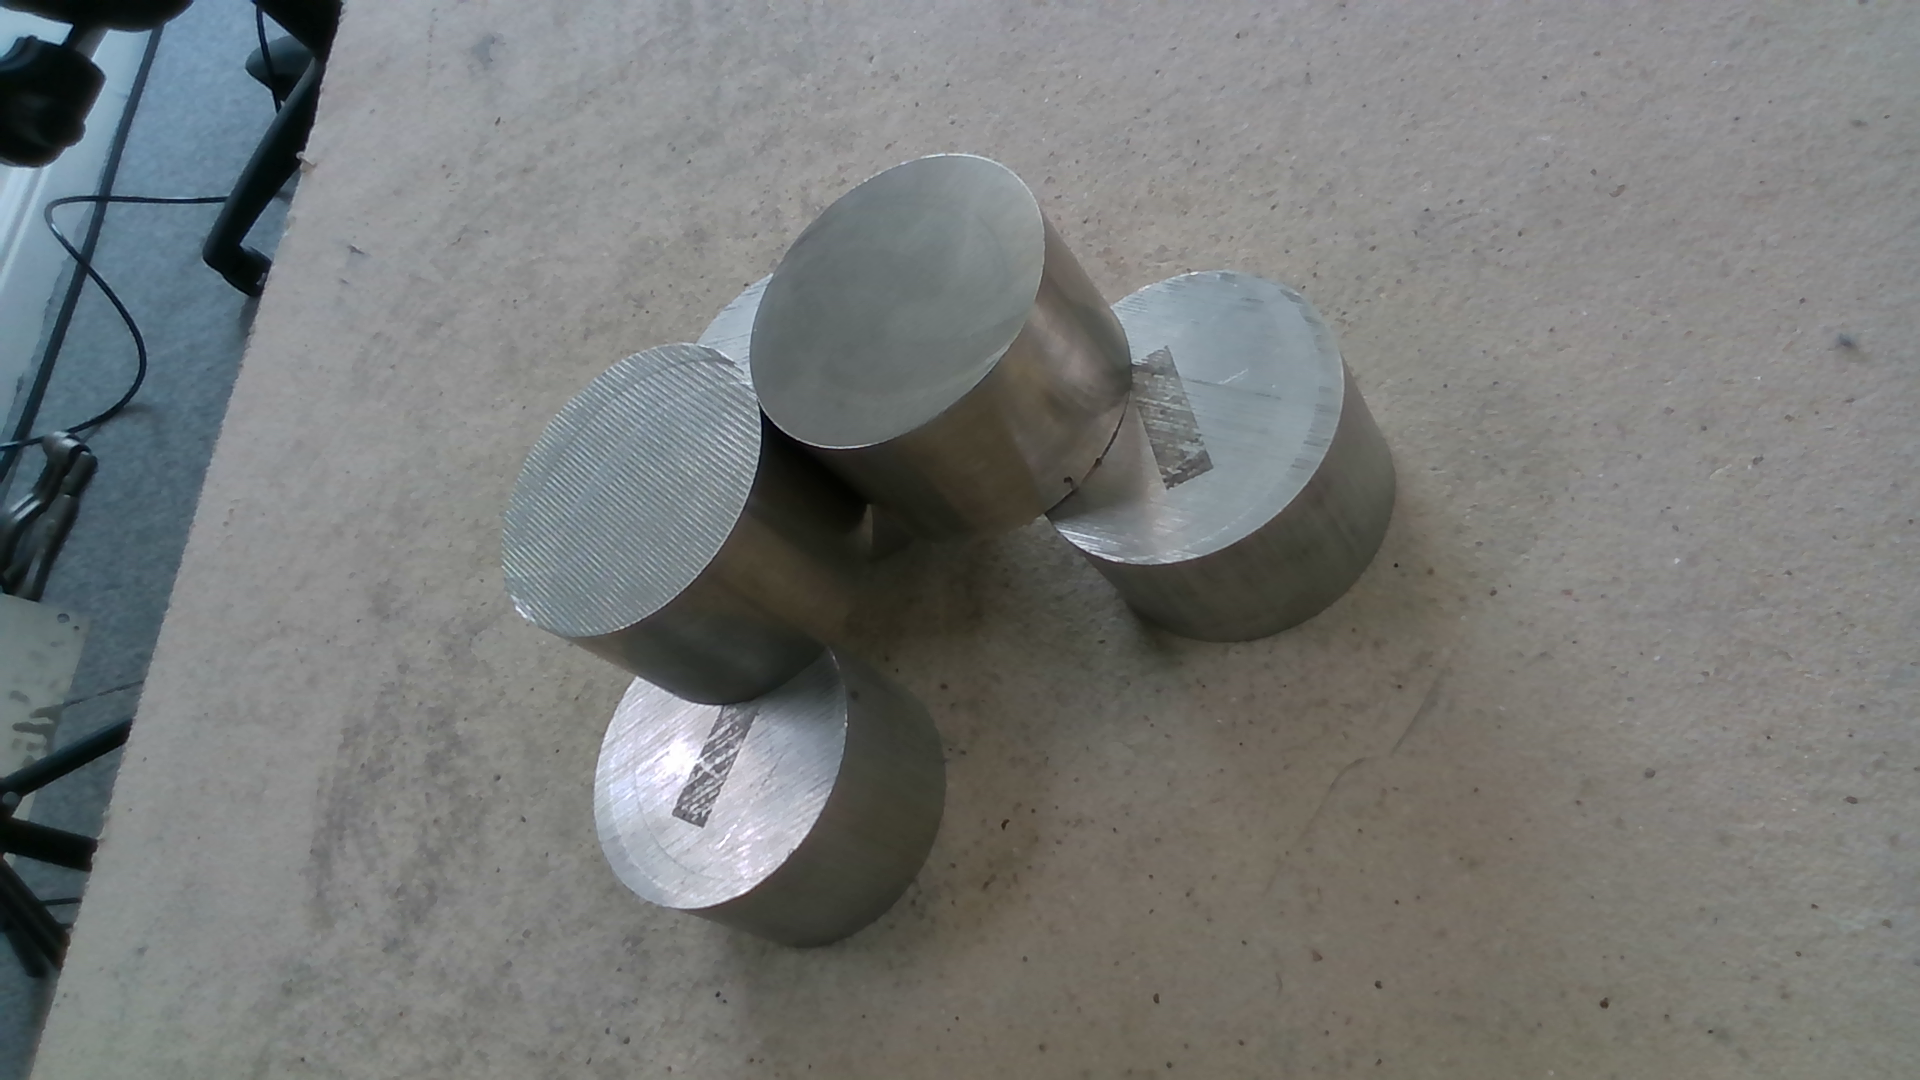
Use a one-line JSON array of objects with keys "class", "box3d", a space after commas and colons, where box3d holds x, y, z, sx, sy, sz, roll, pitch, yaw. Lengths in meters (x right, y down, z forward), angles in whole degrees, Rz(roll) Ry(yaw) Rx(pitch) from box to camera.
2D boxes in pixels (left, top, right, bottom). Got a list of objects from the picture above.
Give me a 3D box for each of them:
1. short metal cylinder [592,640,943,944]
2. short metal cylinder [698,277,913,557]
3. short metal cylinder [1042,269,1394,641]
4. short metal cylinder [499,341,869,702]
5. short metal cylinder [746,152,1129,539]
[{"class": "short metal cylinder", "box3d": [-0.052, 0.064, 0.374, 0.080, 0.050, 0.080, -14, 59, 25]}, {"class": "short metal cylinder", "box3d": [-0.042, -0.039, 0.423, 0.080, 0.050, 0.080, -14, 59, 25]}, {"class": "short metal cylinder", "box3d": [0.064, -0.021, 0.349, 0.080, 0.050, 0.080, -14, 59, 25]}, {"class": "short metal cylinder", "box3d": [-0.071, -0.004, 0.357, 0.080, 0.050, 0.080, -14, 59, 25]}, {"class": "short metal cylinder", "box3d": [-0.005, -0.047, 0.339, 0.080, 0.050, 0.080, -14, 58, 25]}]
